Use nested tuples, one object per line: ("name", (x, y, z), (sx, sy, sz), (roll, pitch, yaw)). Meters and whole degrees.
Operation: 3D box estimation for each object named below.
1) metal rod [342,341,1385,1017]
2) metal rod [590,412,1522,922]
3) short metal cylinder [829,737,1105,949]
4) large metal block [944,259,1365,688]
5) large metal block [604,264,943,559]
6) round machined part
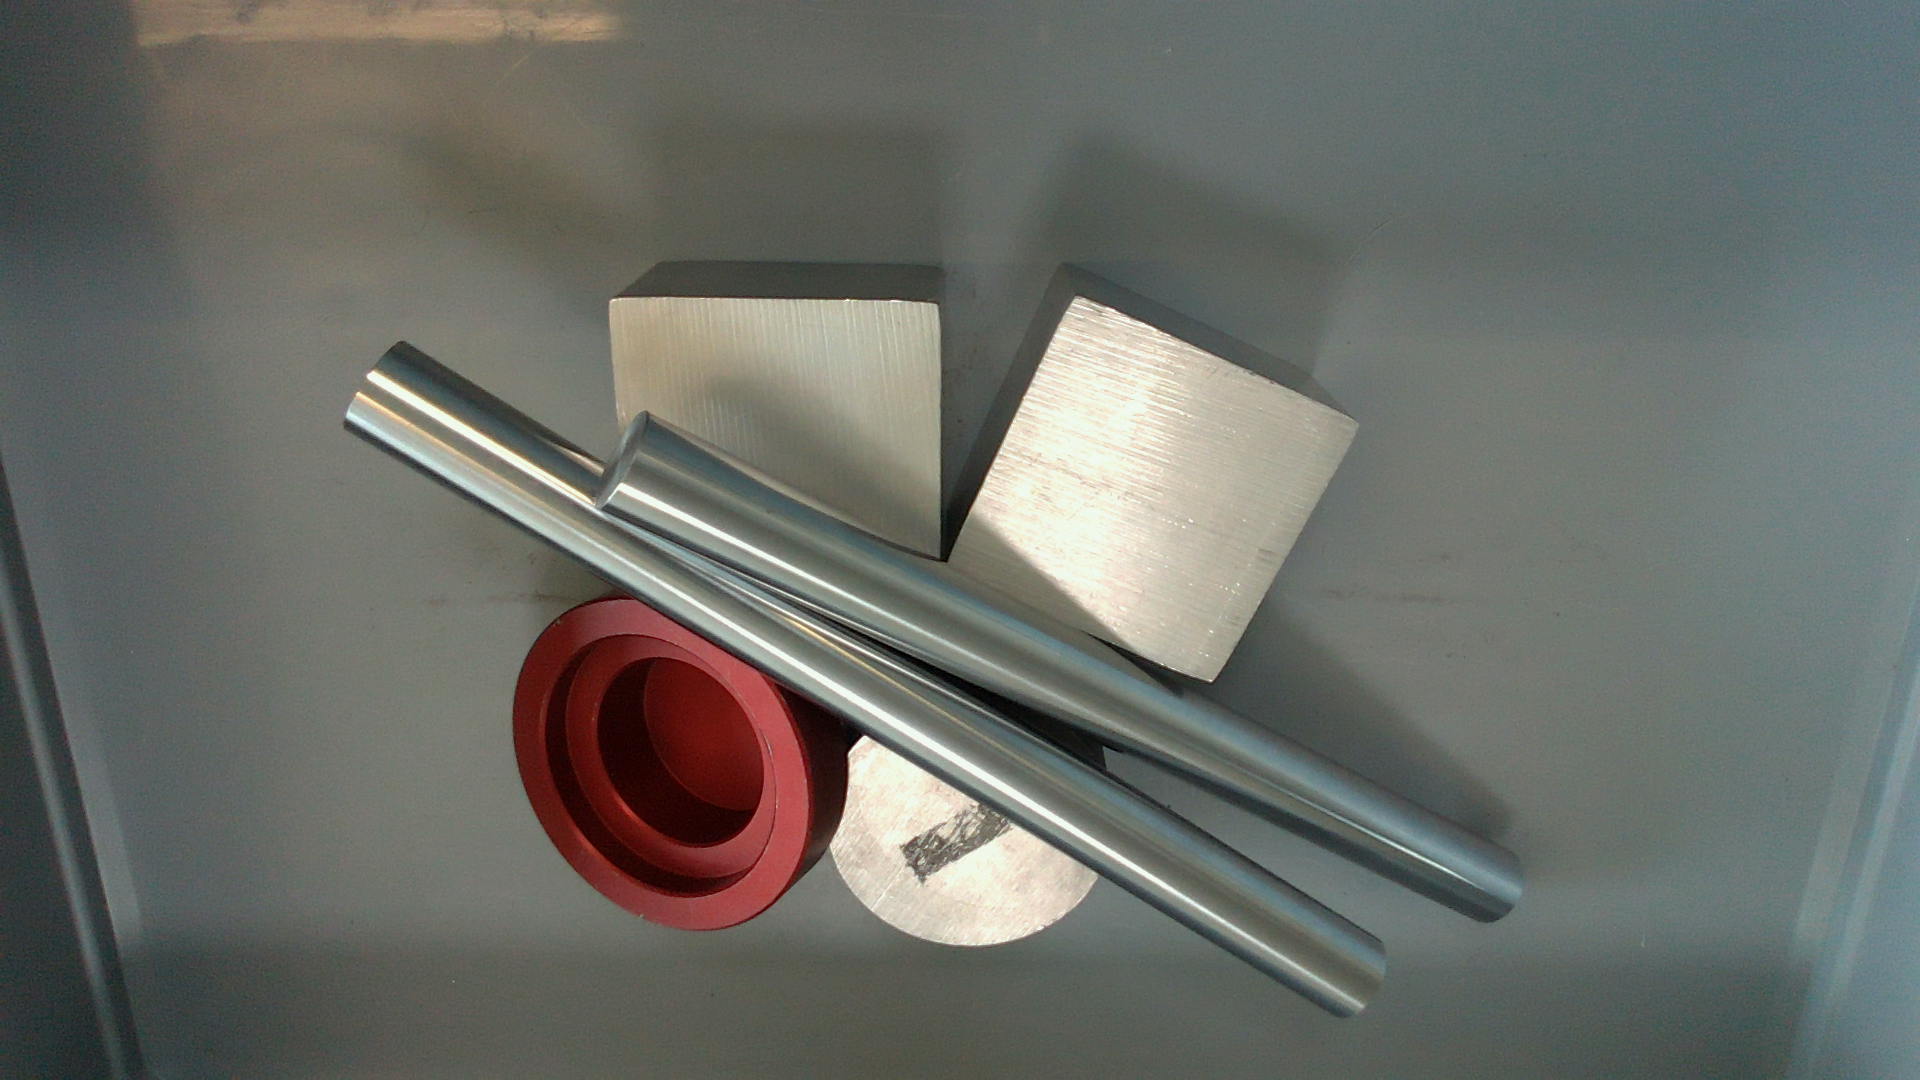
("metal rod", (-0.013, 0.043, 0.354), (0.300, 0.025, 0.025), (33, 107, -12))
("metal rod", (0.045, 0.045, 0.370), (0.301, 0.025, 0.025), (27, 108, -25))
("short metal cylinder", (0.003, 0.071, 0.405), (0.080, 0.050, 0.080), (0, 110, 0))
("large metal block", (0.048, -0.019, 0.371), (0.080, 0.050, 0.080), (23, 109, -8))
("large metal block", (-0.045, -0.029, 0.365), (0.080, 0.050, 0.080), (1, 110, 0))
("round machined part", (-0.075, 0.057, 0.392), (0.098, 0.042, 0.098), (7, 108, 22))
